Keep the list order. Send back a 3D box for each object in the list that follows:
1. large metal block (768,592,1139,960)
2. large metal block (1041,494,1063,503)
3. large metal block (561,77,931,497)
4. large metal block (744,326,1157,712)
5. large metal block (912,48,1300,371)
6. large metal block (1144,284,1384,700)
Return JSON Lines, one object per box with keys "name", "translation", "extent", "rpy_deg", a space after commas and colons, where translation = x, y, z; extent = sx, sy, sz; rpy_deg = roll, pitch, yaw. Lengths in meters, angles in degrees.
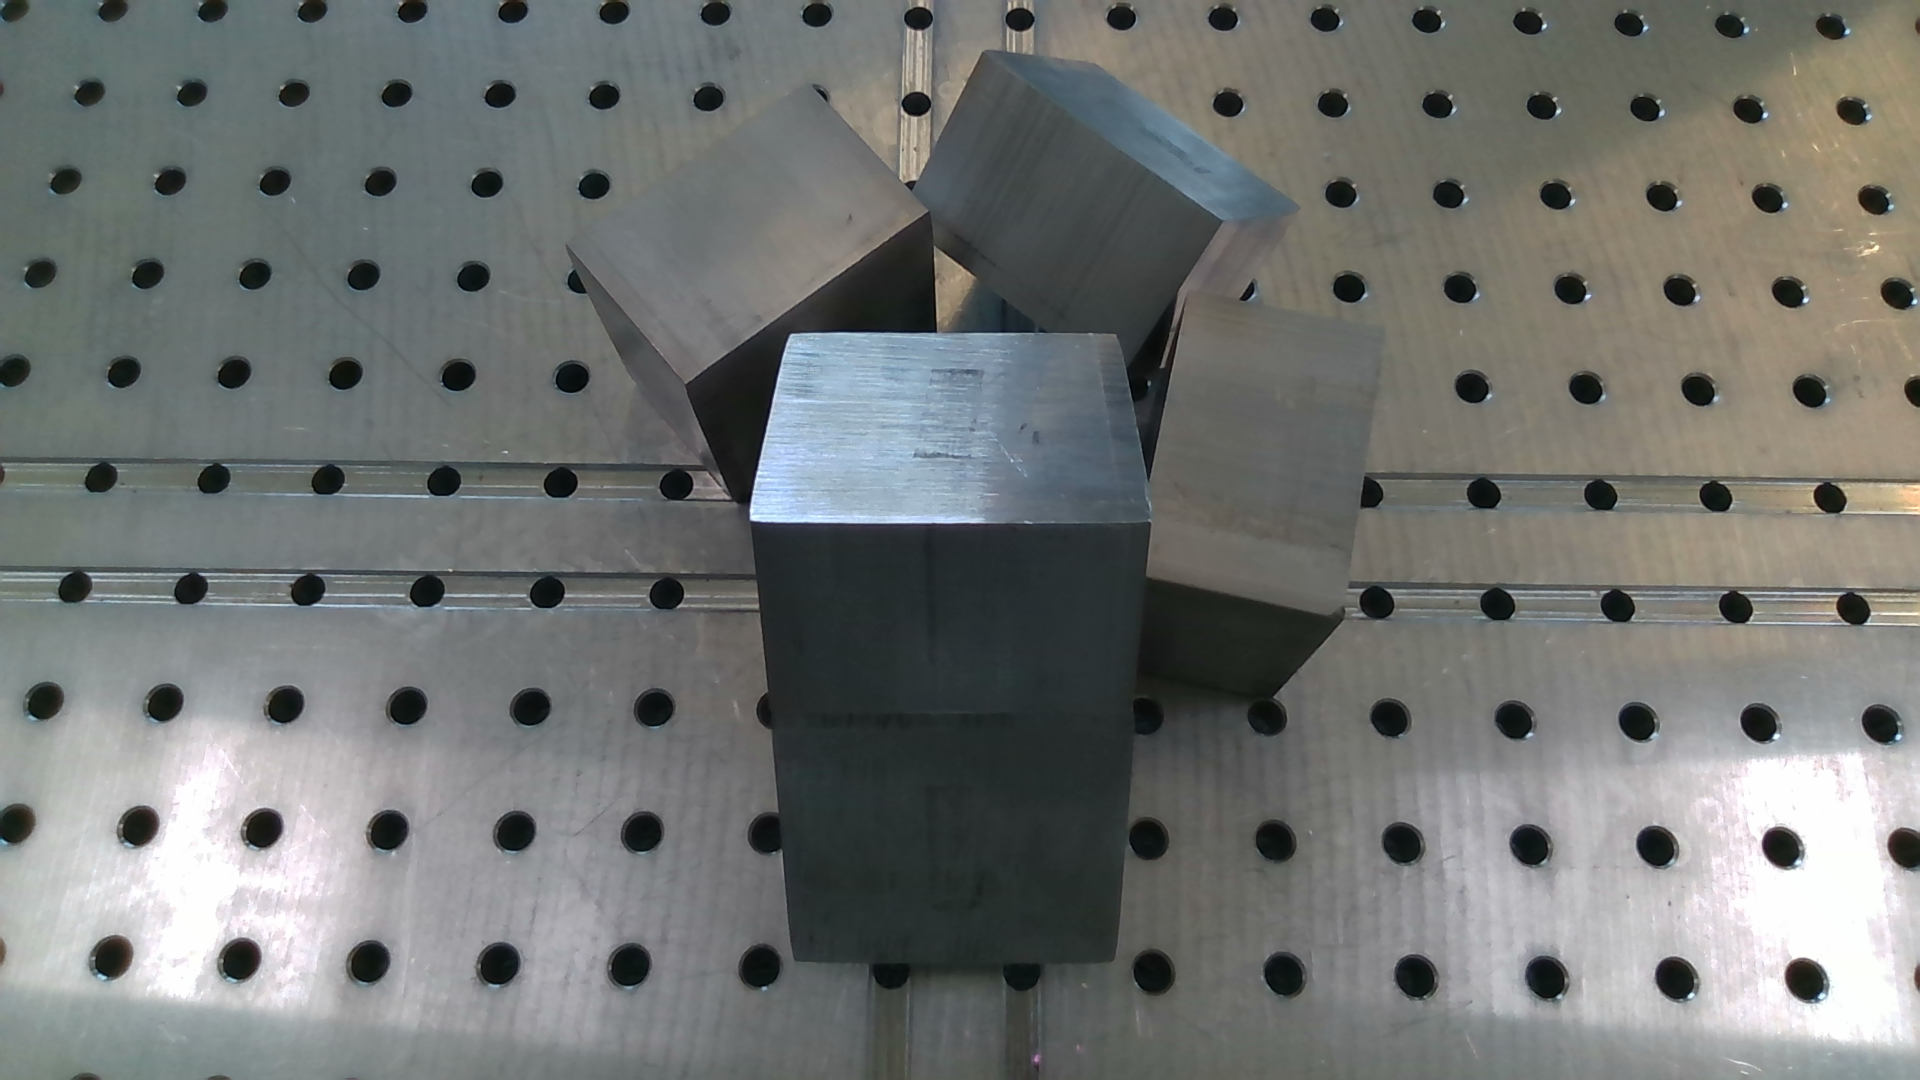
{"name": "large metal block", "translation": [-0.002, 0.057, 0.340], "extent": [0.080, 0.080, 0.050], "rpy_deg": [0, 33, -1]}
{"name": "large metal block", "translation": [-0.001, -0.006, 0.387], "extent": [0.080, 0.050, 0.080], "rpy_deg": [1, 70, 0]}
{"name": "large metal block", "translation": [-0.055, -0.069, 0.392], "extent": [0.080, 0.080, 0.050], "rpy_deg": [-38, 75, -12]}
{"name": "large metal block", "translation": [-0.002, -0.007, 0.314], "extent": [0.080, 0.050, 0.080], "rpy_deg": [1, 36, -1]}
{"name": "large metal block", "translation": [0.042, -0.095, 0.396], "extent": [0.080, 0.080, 0.050], "rpy_deg": [39, 119, 13]}
{"name": "large metal block", "translation": [0.073, -0.009, 0.372], "extent": [0.050, 0.080, 0.080], "rpy_deg": [12, 70, 4]}
